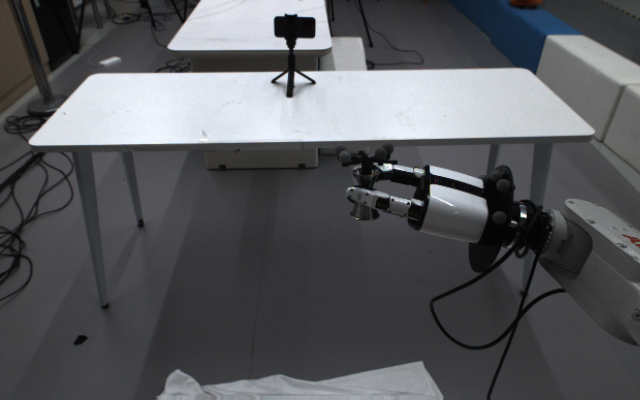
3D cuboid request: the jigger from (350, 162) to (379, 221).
[{"bbox_3d":[0.065,-0.010,0.703,0.043,0.071,0.043,0,21,0],"label":"jigger"}]
